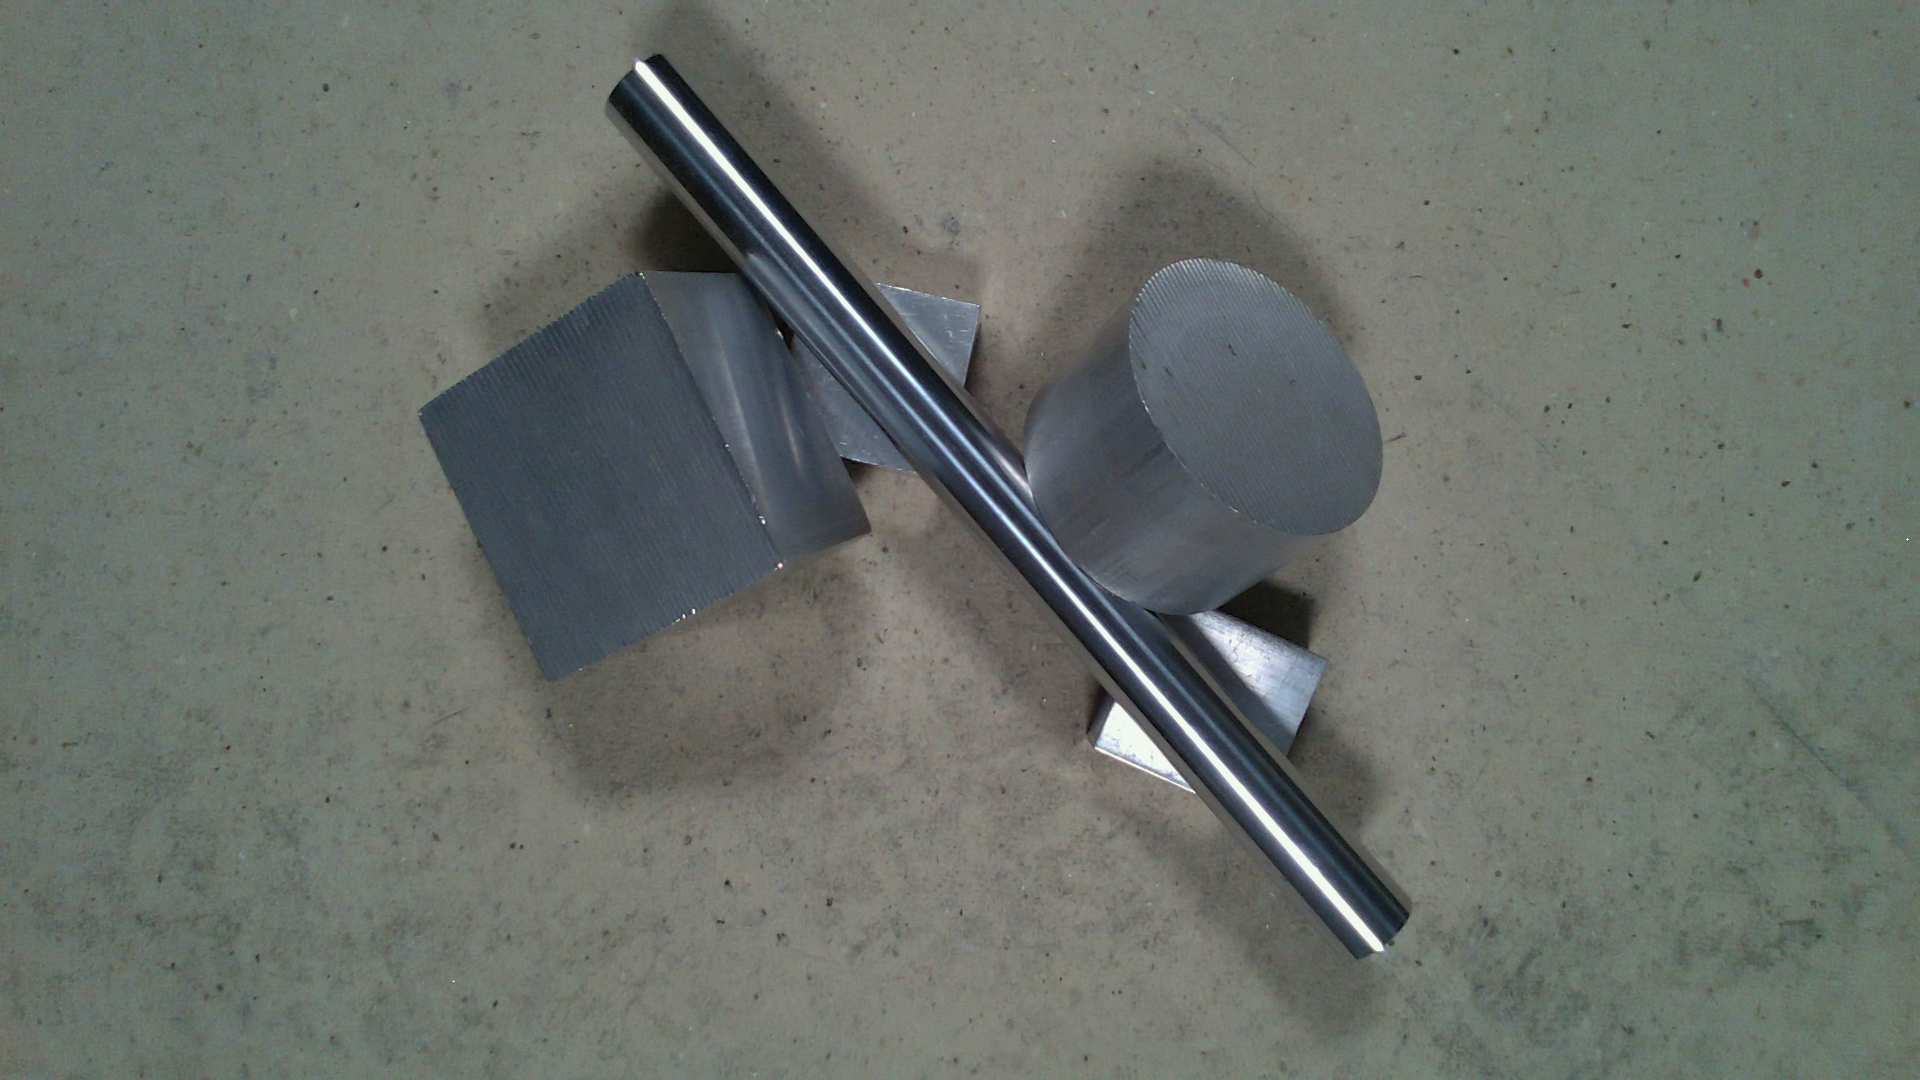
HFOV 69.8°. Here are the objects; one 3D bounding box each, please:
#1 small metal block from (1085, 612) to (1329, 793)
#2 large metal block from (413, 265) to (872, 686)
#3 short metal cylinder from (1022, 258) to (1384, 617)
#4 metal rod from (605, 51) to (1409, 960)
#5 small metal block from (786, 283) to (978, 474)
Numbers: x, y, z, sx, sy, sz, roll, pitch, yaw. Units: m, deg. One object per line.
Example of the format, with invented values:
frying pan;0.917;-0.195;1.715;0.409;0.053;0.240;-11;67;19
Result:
small metal block;0.070;0.046;0.396;0.050;0.025;0.050;24;90;0
large metal block;-0.083;-0.018;0.366;0.080;0.050;0.080;-25;91;24
short metal cylinder;0.064;-0.026;0.363;0.080;0.050;0.080;15;58;-25
metal rod;0.013;-0.009;0.371;0.025;0.025;0.300;-41;90;0
small metal block;-0.025;-0.047;0.395;0.050;0.025;0.050;12;90;0
